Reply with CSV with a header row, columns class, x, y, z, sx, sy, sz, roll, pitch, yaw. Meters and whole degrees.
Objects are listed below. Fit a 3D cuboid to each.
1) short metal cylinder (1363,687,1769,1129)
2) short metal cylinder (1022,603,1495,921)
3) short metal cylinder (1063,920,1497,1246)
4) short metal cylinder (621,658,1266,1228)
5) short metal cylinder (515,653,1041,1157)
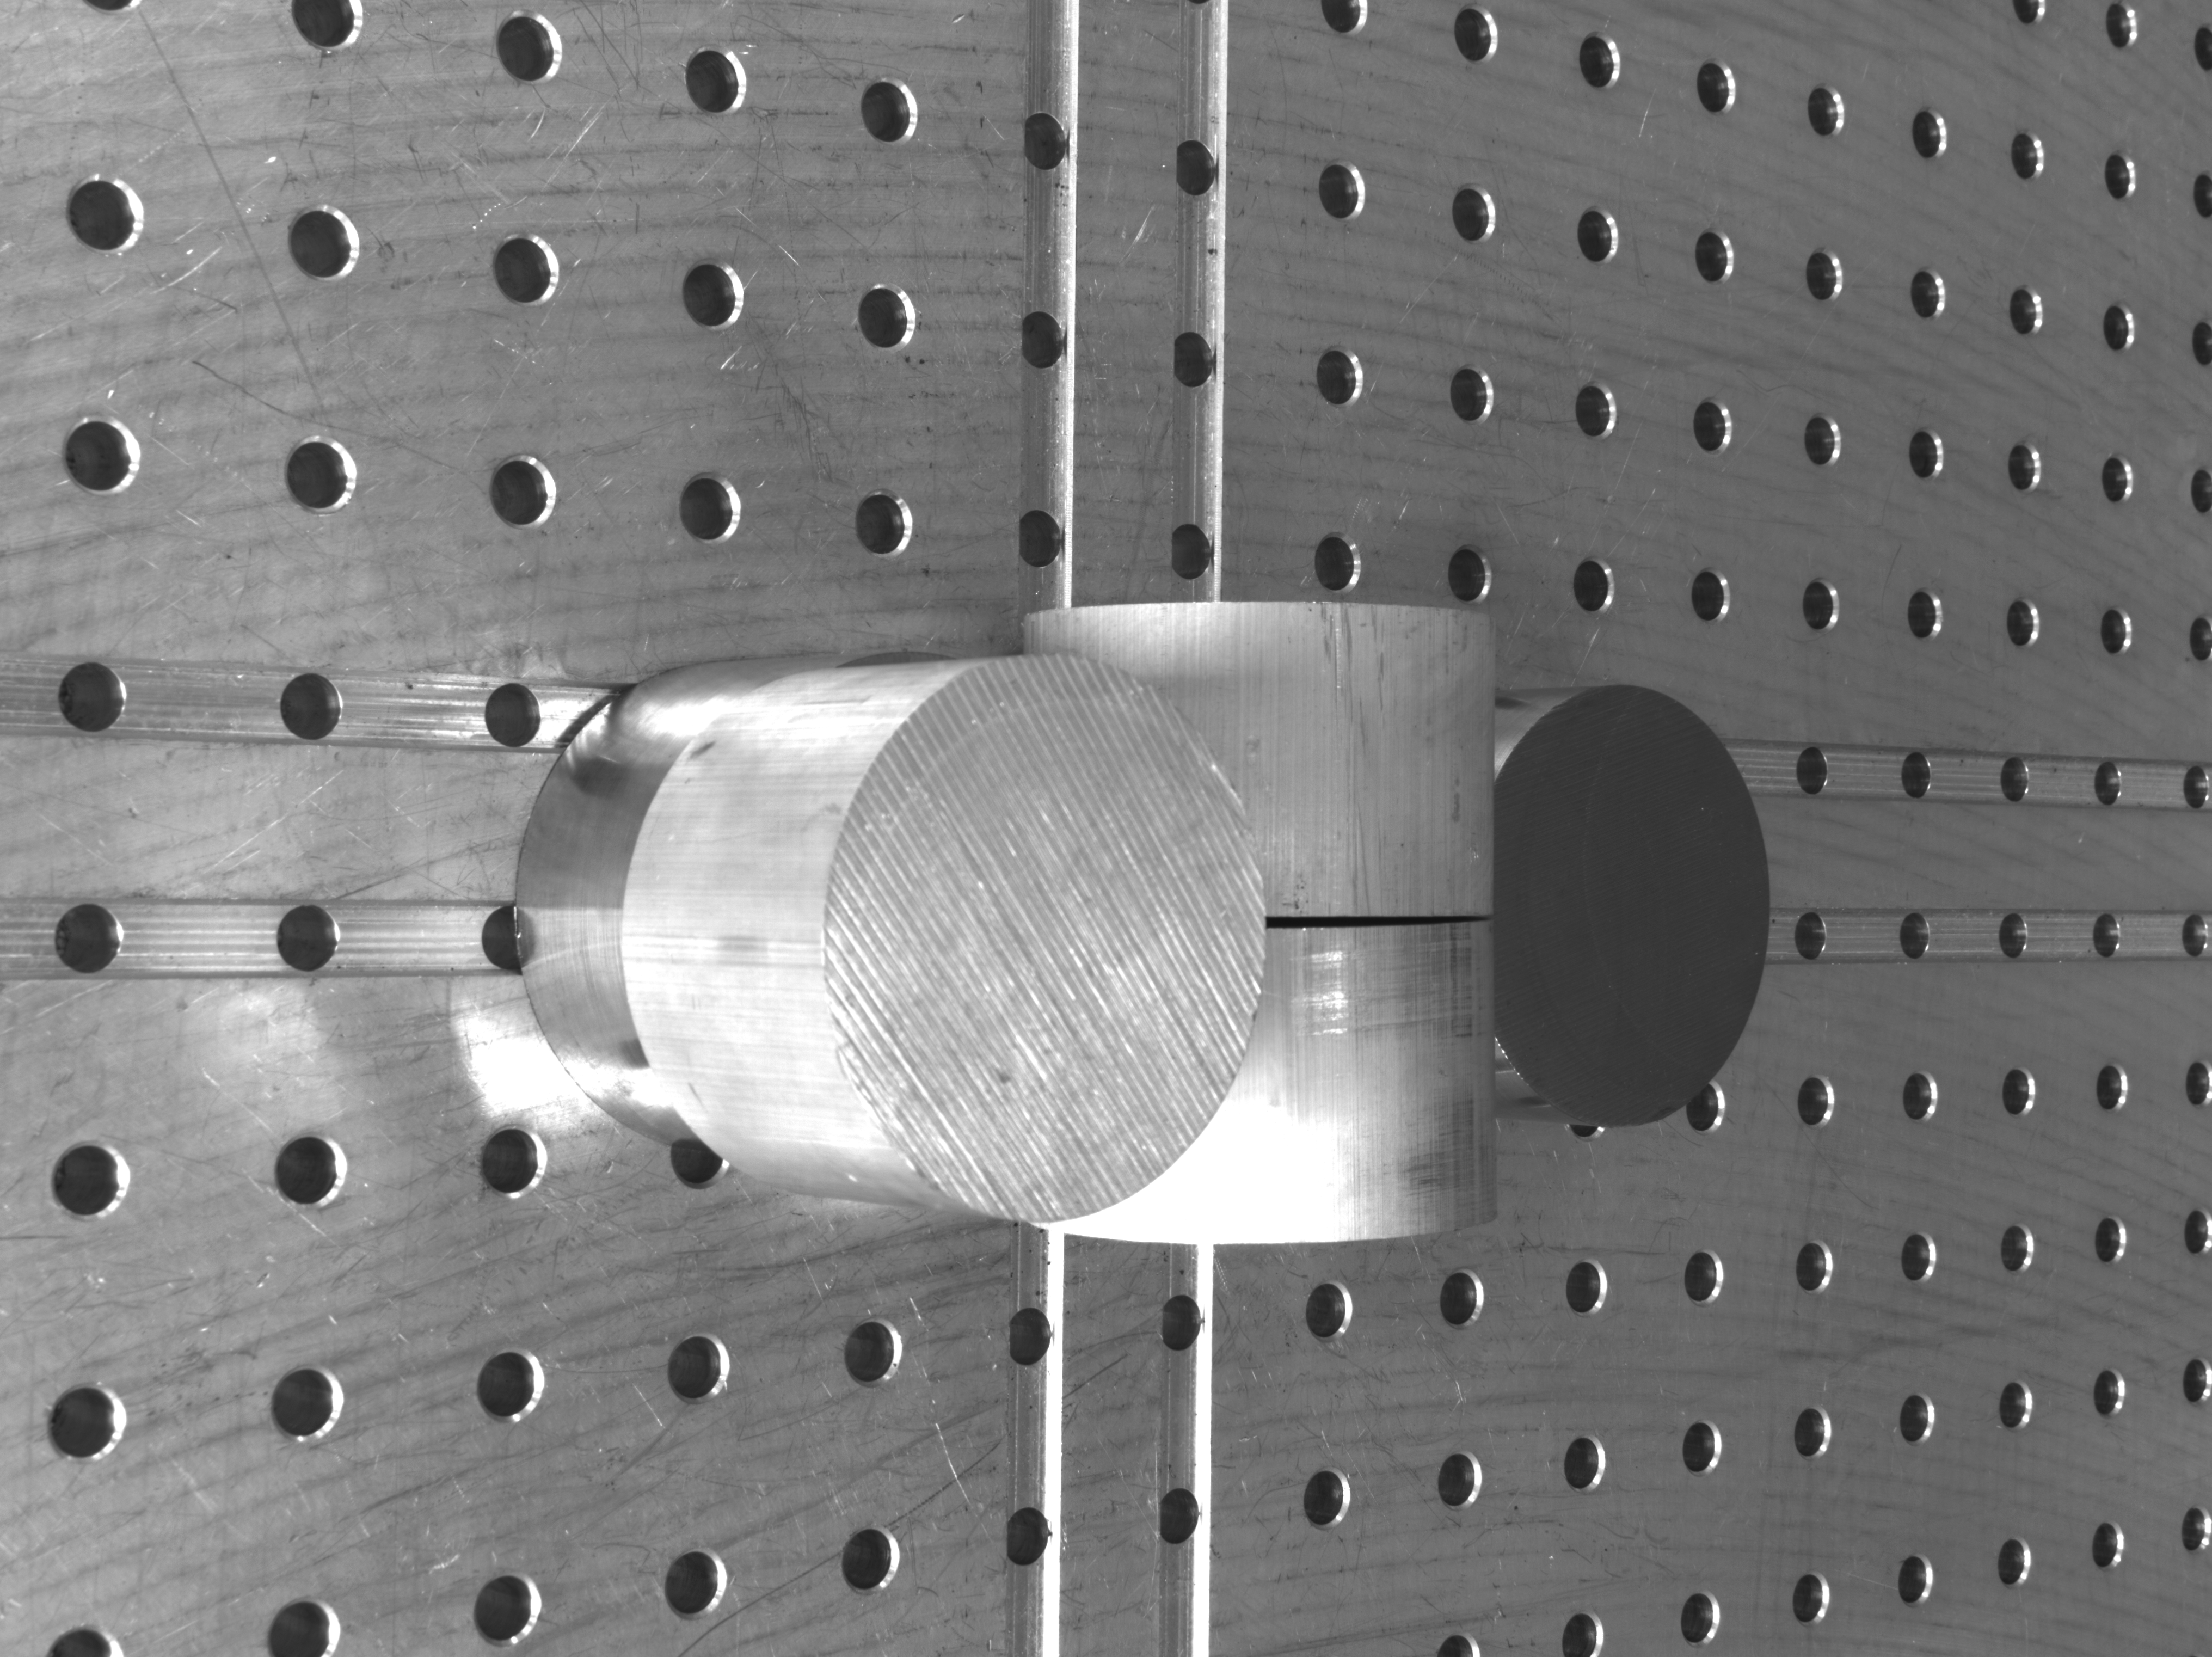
class,x,y,z,sx,sy,sz,roll,pitch,yaw
short metal cylinder,0.078,0.014,0.687,0.080,0.050,0.080,0,90,-40
short metal cylinder,0.025,-0.011,0.626,0.080,0.080,0.050,1,90,-40
short metal cylinder,0.026,0.041,0.625,0.080,0.080,0.050,-1,91,-40
short metal cylinder,-0.023,0.016,0.538,0.080,0.050,0.080,0,90,-40
short metal cylinder,-0.046,0.013,0.585,0.080,0.050,0.080,0,90,-40
